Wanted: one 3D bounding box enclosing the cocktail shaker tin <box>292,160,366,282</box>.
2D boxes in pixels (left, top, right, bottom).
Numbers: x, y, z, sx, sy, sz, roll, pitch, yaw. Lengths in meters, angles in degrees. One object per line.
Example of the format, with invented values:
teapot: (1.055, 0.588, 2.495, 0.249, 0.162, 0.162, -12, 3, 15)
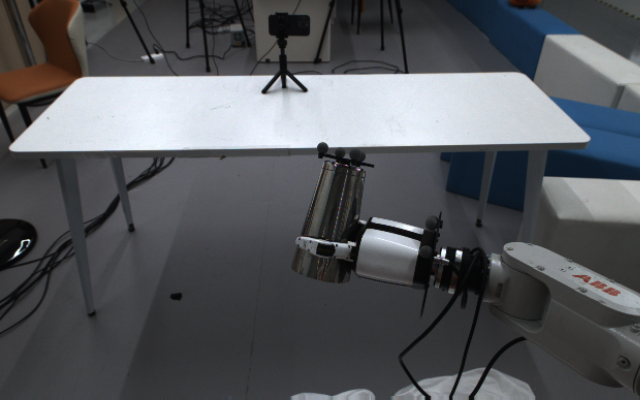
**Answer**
cocktail shaker tin: (0.019, 0.031, 0.737, 0.093, 0.170, 0.093, 13, 4, -1)
